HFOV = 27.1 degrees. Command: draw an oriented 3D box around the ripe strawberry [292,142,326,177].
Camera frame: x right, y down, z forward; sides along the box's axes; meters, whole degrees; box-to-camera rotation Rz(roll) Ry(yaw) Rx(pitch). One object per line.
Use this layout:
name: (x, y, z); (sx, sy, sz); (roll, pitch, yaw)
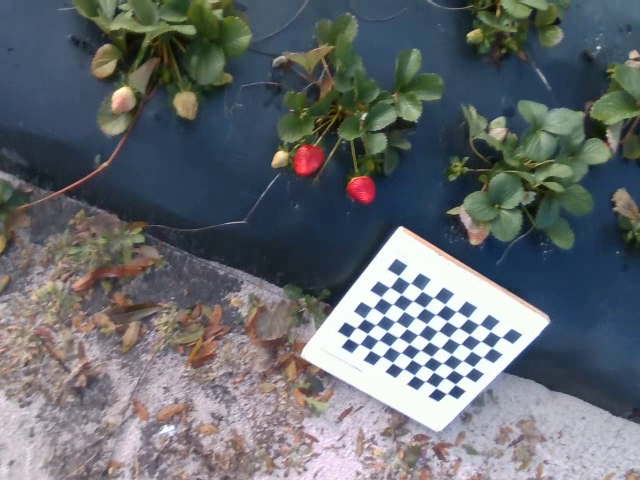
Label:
ripe strawberry: (0.003, -0.071, 1.377); (0.035, 0.036, 0.041); (19, -36, -12)
